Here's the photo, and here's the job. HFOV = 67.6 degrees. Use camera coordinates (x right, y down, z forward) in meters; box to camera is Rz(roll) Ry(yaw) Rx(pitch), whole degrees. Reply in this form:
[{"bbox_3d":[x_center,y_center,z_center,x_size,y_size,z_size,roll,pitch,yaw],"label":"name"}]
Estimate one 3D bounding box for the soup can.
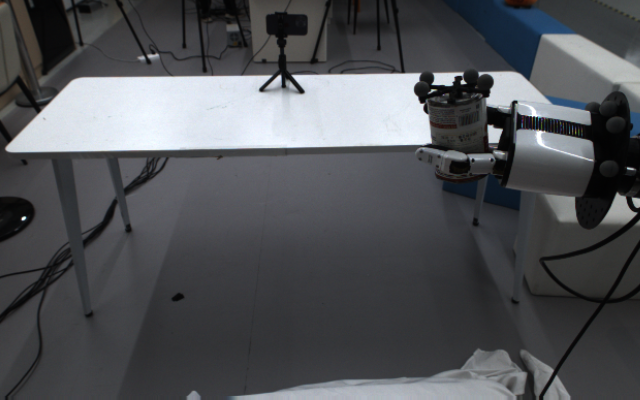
[{"bbox_3d":[0.170,-0.080,0.583,0.067,0.101,0.067,-11,28,6],"label":"soup can"}]
